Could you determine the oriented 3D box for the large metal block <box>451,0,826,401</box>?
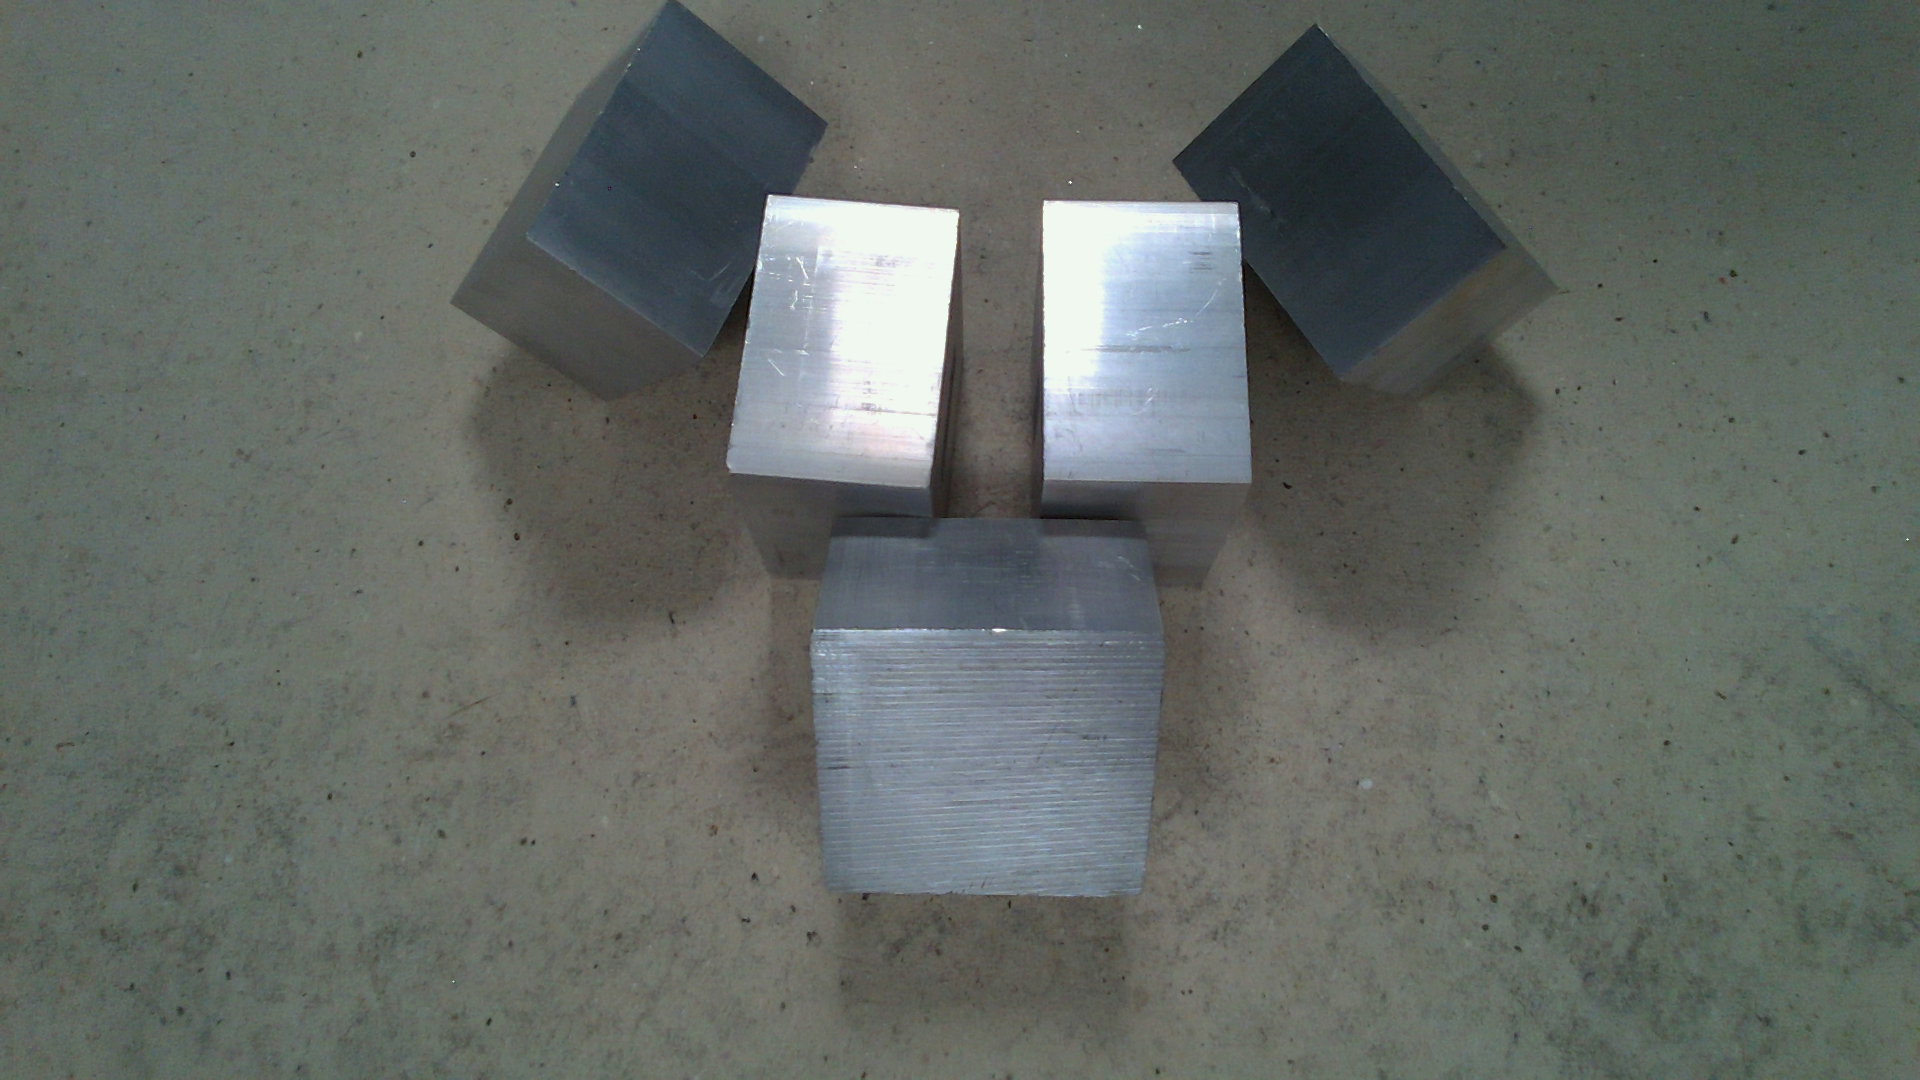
[{"bbox_3d":[-0.093,-0.092,0.390,0.050,0.080,0.080,33,69,-26],"label":"large metal block"}]

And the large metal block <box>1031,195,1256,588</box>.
[{"bbox_3d":[0.046,-0.038,0.380,0.050,0.080,0.080,1,70,0],"label":"large metal block"}]

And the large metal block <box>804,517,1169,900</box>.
[{"bbox_3d":[0.006,0.042,0.344,0.080,0.080,0.050,1,31,1],"label":"large metal block"}]

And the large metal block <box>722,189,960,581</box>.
[{"bbox_3d":[-0.028,-0.038,0.379,0.050,0.080,0.080,4,70,2],"label":"large metal block"}]

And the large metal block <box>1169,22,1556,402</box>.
[{"bbox_3d":[0.116,-0.089,0.392,0.050,0.080,0.080,-41,70,26],"label":"large metal block"}]
